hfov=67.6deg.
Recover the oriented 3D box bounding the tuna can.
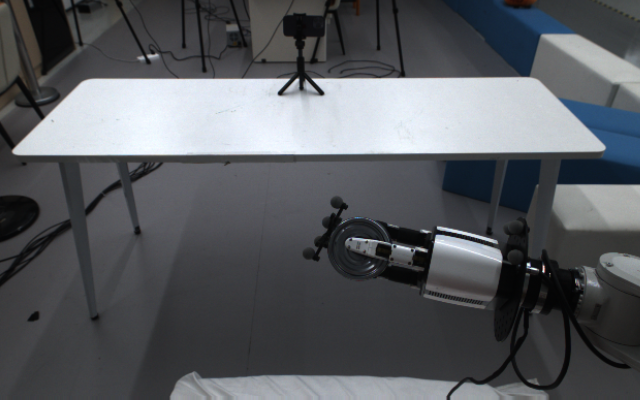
[{"bbox_3d":[0.057,0.064,0.650,0.085,0.085,0.034,9,-5,10],"label":"tuna can"}]
